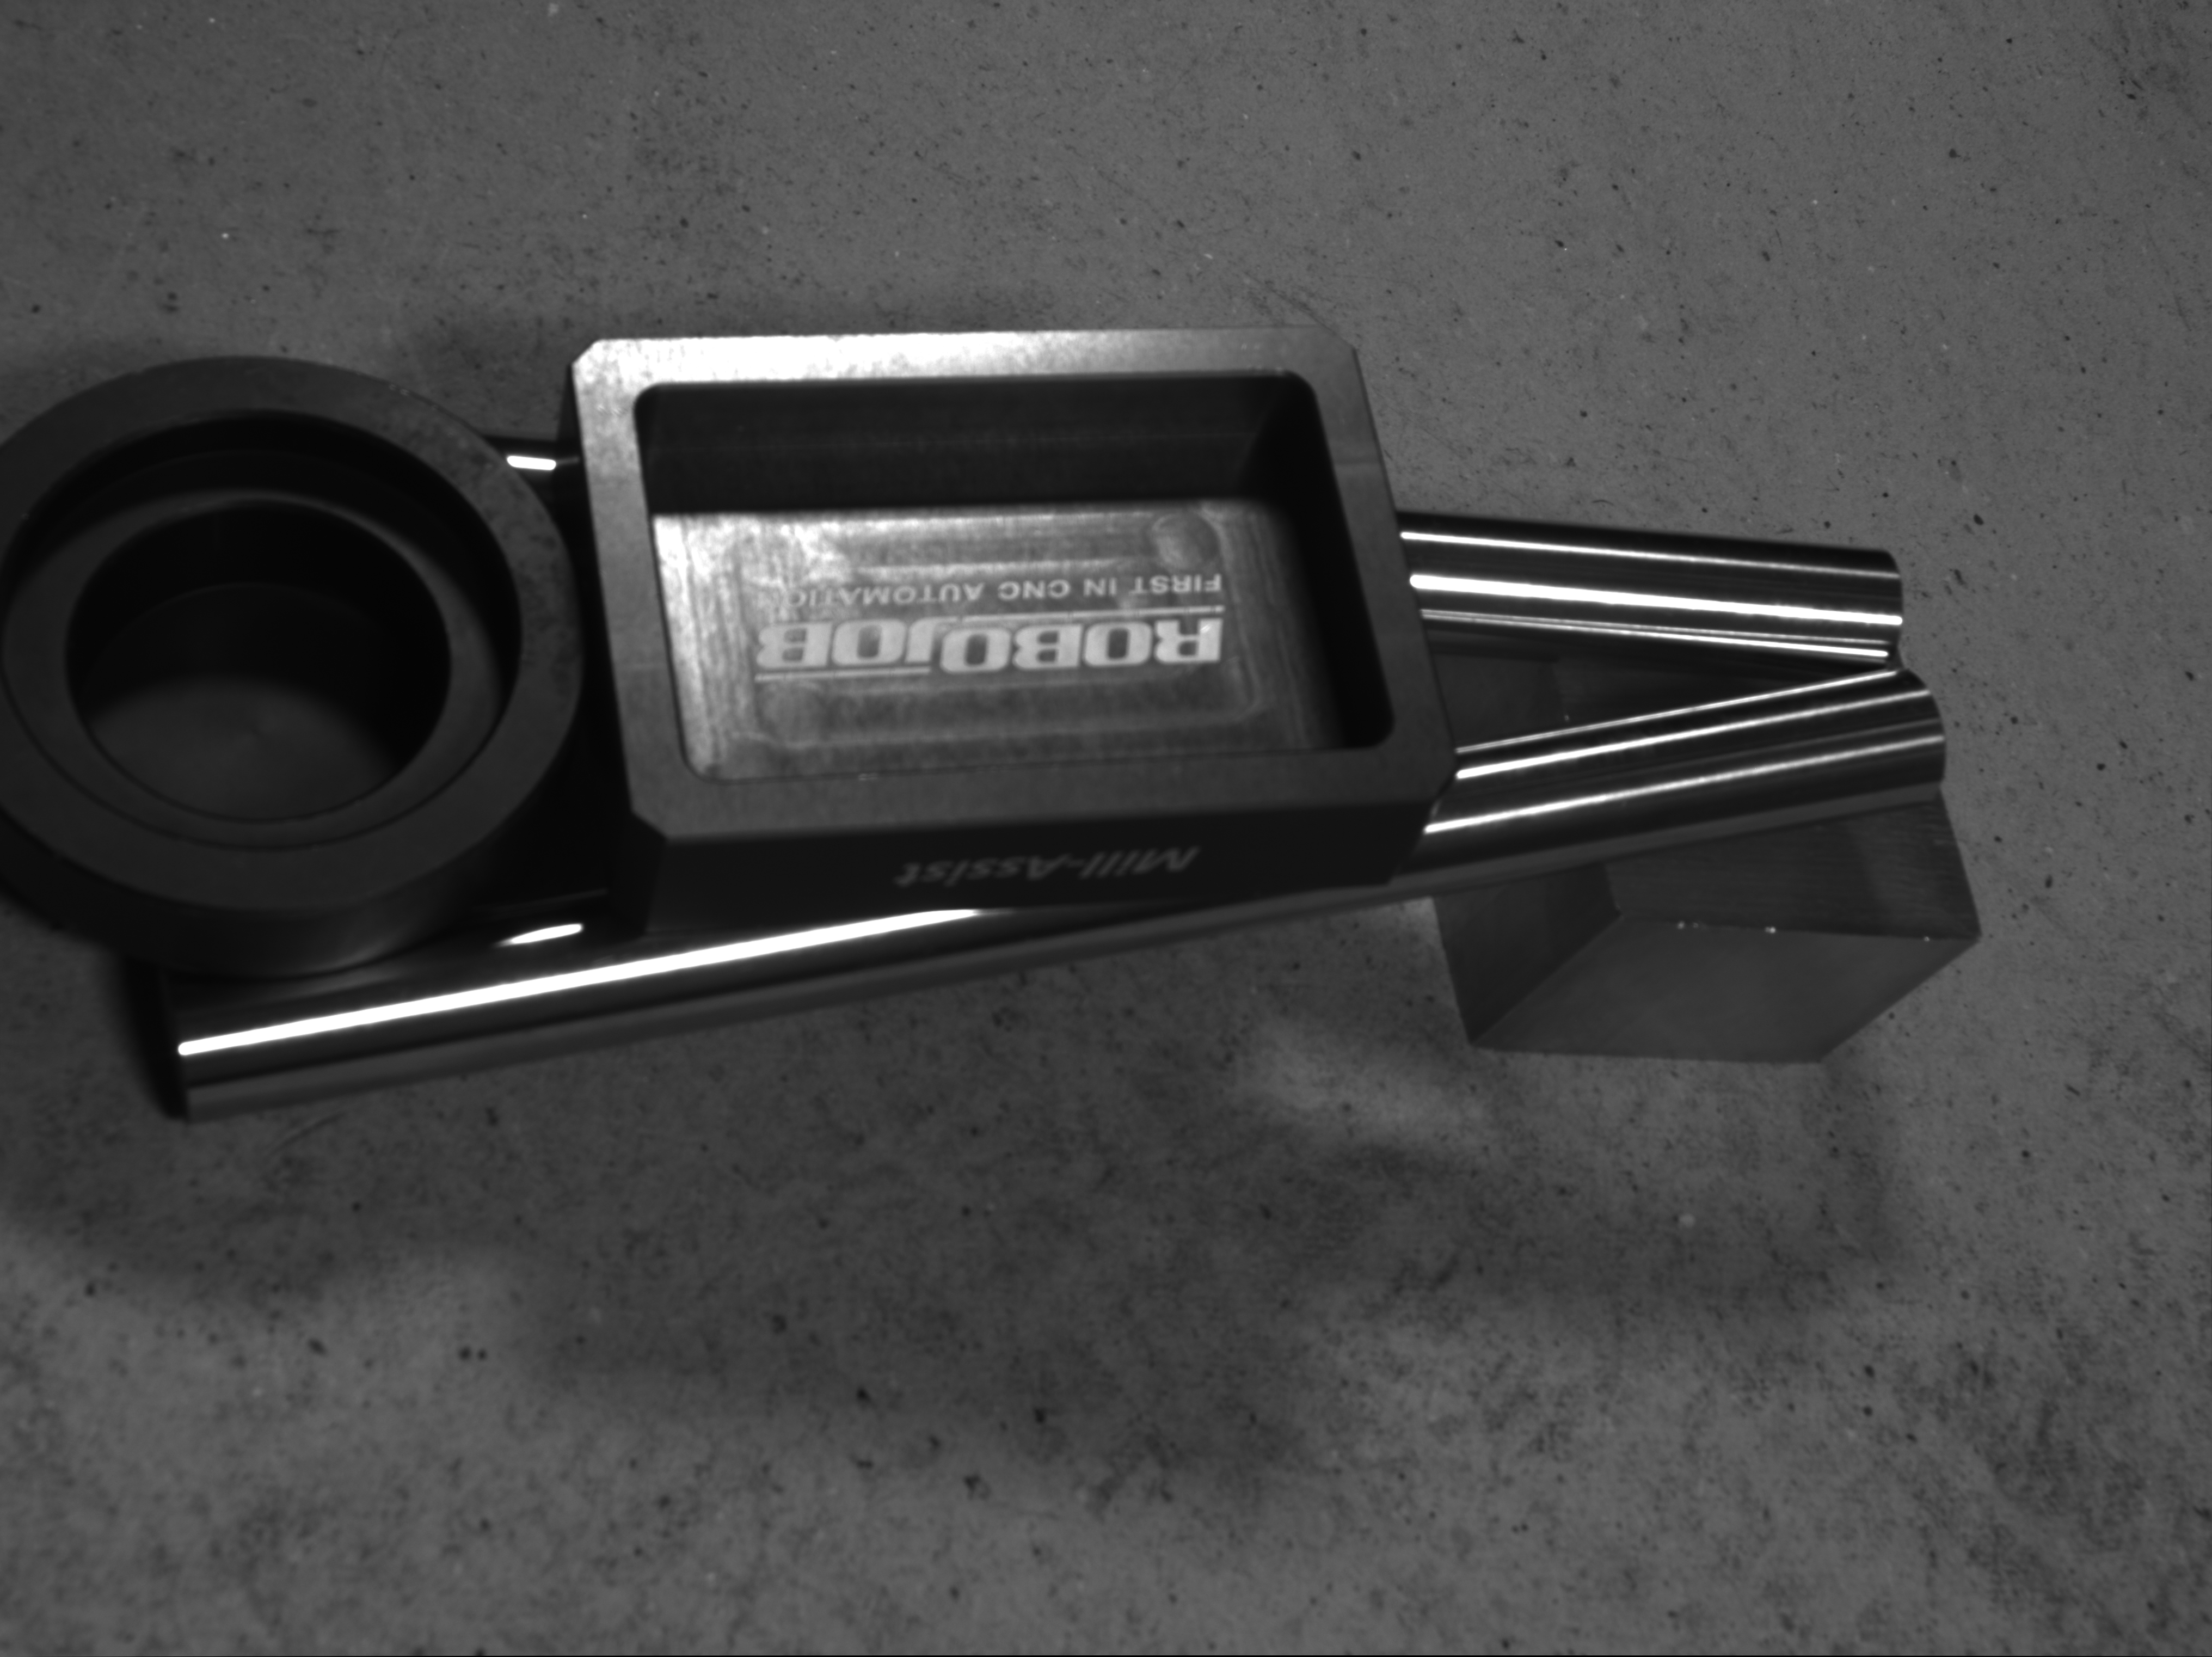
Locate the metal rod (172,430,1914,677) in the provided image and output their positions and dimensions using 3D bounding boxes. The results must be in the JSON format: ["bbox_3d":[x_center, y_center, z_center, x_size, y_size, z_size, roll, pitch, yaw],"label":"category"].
[{"bbox_3d":[-0.008,-0.047,0.623,0.300,0.025,0.025,3,59,-12],"label":"metal rod"}]

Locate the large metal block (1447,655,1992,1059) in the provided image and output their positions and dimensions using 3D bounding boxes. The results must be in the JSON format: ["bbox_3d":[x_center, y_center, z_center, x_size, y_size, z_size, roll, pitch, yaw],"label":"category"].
[{"bbox_3d":[0.108,-0.005,0.683,0.080,0.050,0.080,4,60,-26],"label":"large metal block"}]

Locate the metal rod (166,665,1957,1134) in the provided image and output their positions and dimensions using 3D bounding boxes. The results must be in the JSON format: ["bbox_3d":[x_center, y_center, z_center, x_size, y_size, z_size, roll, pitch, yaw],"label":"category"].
[{"bbox_3d":[0.002,0.008,0.595,0.300,0.025,0.025,-10,66,-19],"label":"metal rod"}]

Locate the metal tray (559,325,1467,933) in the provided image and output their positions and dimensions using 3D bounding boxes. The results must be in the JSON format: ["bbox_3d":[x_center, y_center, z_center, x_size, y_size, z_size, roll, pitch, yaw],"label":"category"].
[{"bbox_3d":[-0.016,-0.034,0.582,0.130,0.030,0.090,-3,63,-15],"label":"metal tray"}]

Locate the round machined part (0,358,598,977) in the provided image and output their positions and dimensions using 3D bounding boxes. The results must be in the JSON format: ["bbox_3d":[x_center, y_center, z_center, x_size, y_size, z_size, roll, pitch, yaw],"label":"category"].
[{"bbox_3d":[-0.130,-0.021,0.565,0.098,0.042,0.098,7,60,-12],"label":"round machined part"}]
